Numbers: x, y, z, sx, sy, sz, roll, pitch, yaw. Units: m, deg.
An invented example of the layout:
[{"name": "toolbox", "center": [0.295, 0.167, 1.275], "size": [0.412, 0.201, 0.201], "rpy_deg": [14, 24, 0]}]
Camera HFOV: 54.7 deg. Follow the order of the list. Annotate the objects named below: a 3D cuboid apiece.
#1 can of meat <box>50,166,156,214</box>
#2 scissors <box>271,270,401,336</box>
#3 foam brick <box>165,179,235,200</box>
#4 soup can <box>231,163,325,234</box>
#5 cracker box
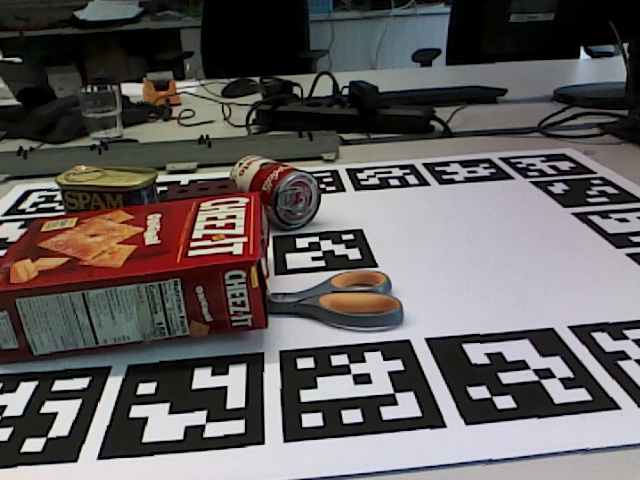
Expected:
[{"name": "can of meat", "center": [-0.223, -0.029, 0.656], "size": [0.102, 0.083, 0.058], "rpy_deg": [3, 28, 8]}, {"name": "scissors", "center": [-0.038, 0.060, 0.522], "size": [0.202, 0.016, 0.088], "rpy_deg": [-6, 28, -8]}, {"name": "foam brick", "center": [-0.131, -0.033, 0.700], "size": [0.078, 0.051, 0.053], "rpy_deg": [-9, 28, -14]}, {"name": "soup can", "center": [-0.052, -0.052, 0.730], "size": [0.067, 0.068, 0.103], "rpy_deg": [-24, 29, -37]}, {"name": "cracker box", "center": [-0.157, 0.024, 0.532], "size": [0.213, 0.072, 0.165], "rpy_deg": [-10, 27, -7]}]
